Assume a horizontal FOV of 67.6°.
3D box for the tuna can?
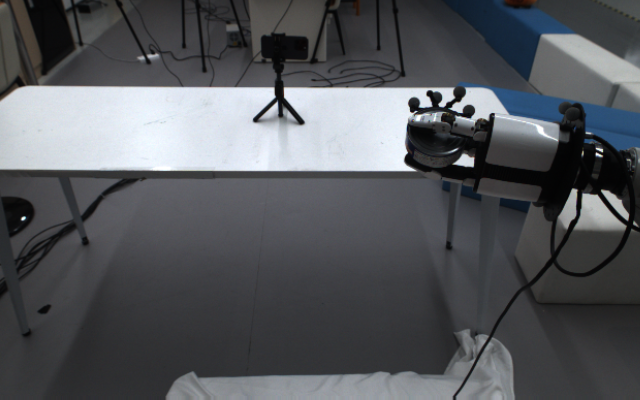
[{"bbox_3d":[0.164,-0.094,0.684,0.085,0.034,0.085,-2,57,3],"label":"tuna can"}]
